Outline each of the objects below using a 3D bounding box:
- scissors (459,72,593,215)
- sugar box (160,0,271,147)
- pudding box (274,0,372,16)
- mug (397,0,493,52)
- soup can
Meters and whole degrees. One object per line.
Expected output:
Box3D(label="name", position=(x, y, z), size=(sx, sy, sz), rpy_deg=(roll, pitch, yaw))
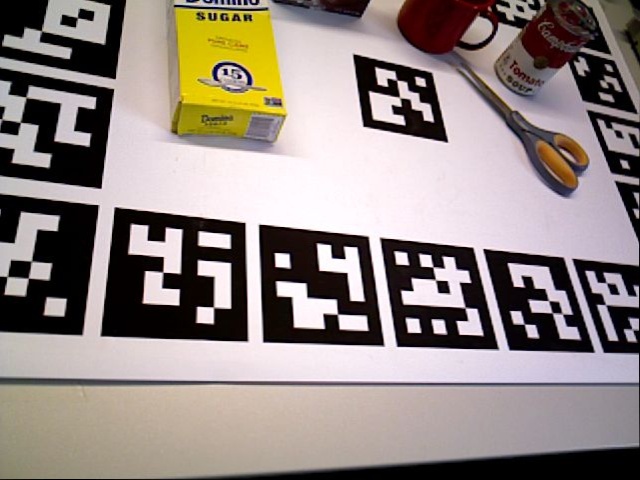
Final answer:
Box3D(label="scissors", position=(0.232, -0.123, 0.627), size=(0.086, 0.016, 0.203), rpy_deg=(-40, 86, -23))
Box3D(label="sugar box", position=(-0.099, -0.172, 0.499), size=(0.091, 0.046, 0.175), rpy_deg=(2, 66, -20))
Box3D(label="pudding box", position=(0.014, -0.287, 0.567), size=(0.112, 0.092, 0.038), rpy_deg=(-3, 72, -25))
Box3D(label="mug", position=(0.149, -0.268, 0.625), size=(0.091, 0.083, 0.117), rpy_deg=(-33, 80, -30))
Box3D(label="soup can", position=(0.259, -0.221, 0.645), size=(0.067, 0.104, 0.067), rpy_deg=(9, 60, -18))
